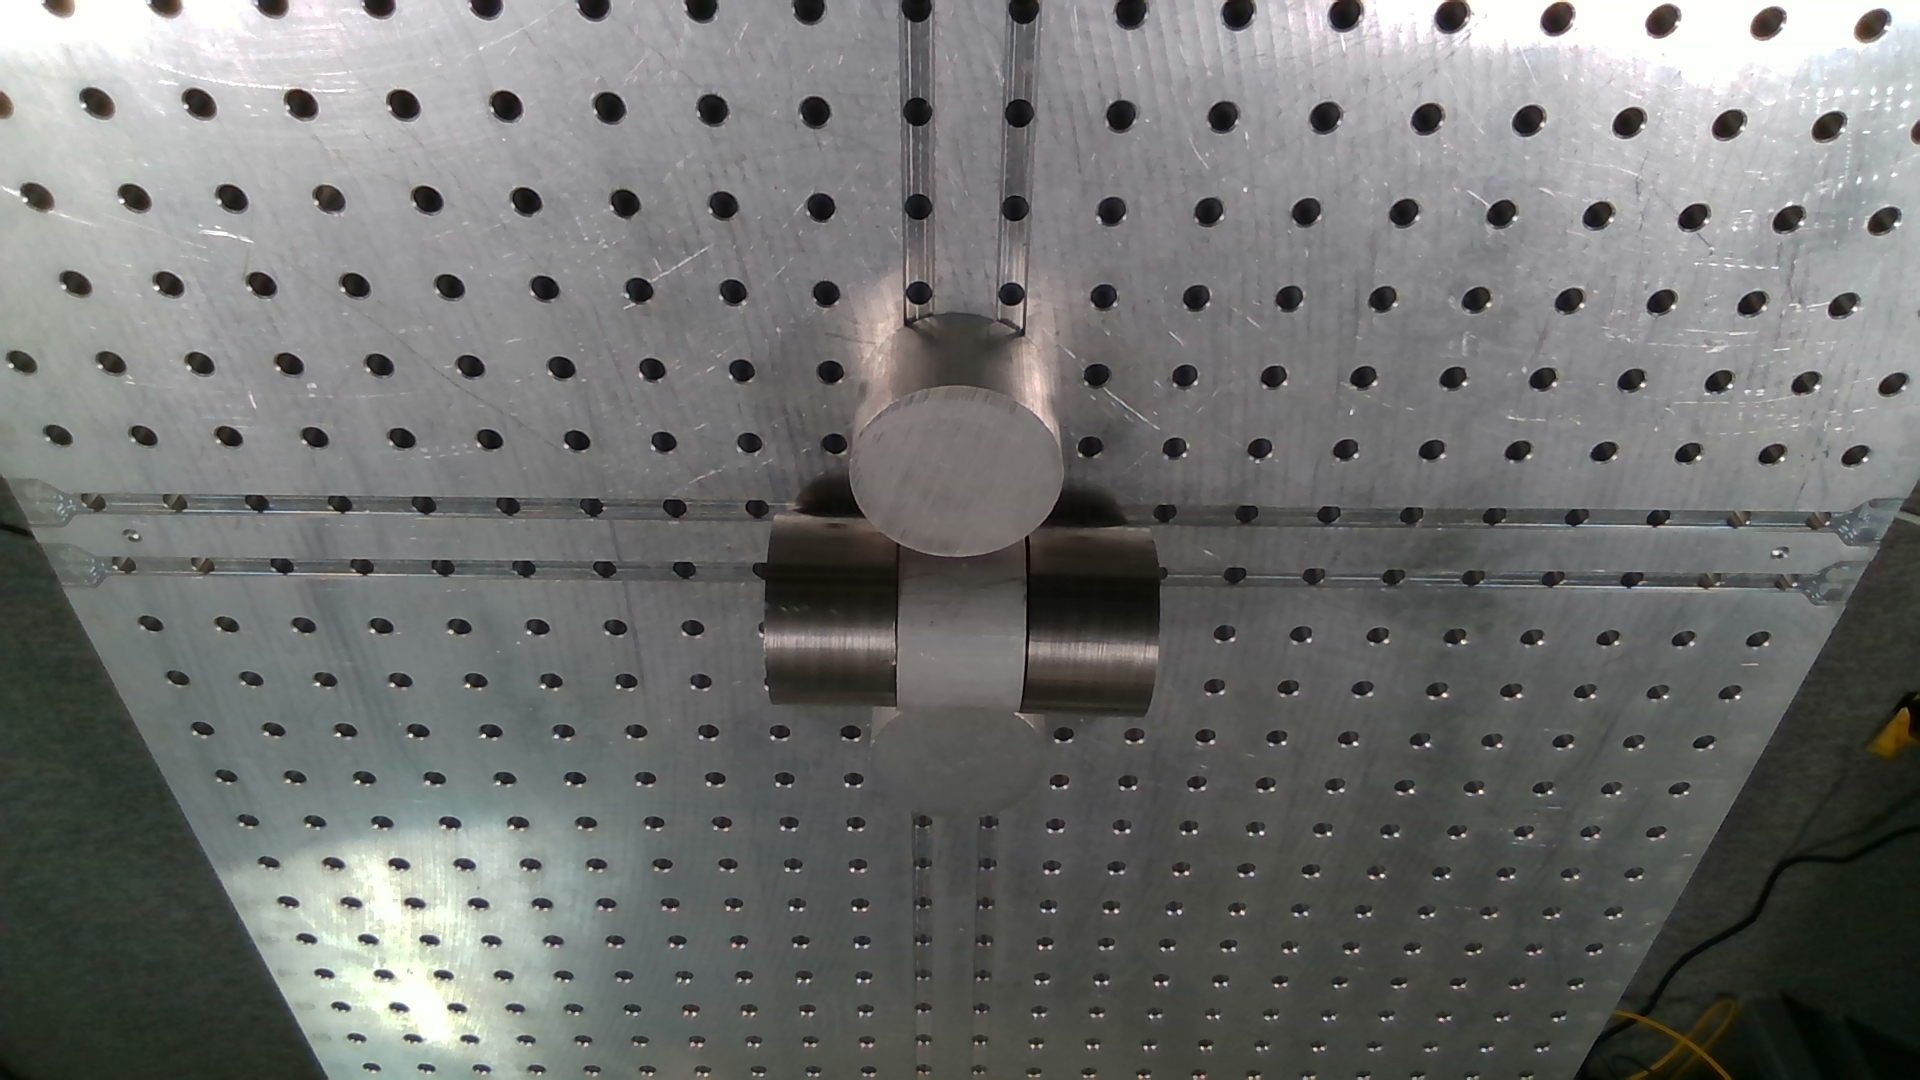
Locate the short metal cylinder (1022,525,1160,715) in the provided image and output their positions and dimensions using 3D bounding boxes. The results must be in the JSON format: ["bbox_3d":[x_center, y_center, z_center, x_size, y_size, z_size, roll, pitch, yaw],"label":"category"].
[{"bbox_3d":[0.051,0.033,0.573,0.050,0.080,0.080,2,130,-2],"label":"short metal cylinder"}]

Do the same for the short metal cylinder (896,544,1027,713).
[{"bbox_3d":[0.000,0.031,0.572,0.050,0.080,0.080,1,130,-1],"label":"short metal cylinder"}]

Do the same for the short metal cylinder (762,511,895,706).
[{"bbox_3d":[-0.052,0.029,0.570,0.050,0.080,0.080,1,130,-1],"label":"short metal cylinder"}]

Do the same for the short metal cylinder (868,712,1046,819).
[{"bbox_3d":[-0.001,0.083,0.635,0.080,0.050,0.080,0,130,0],"label":"short metal cylinder"}]

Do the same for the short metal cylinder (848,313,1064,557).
[{"bbox_3d":[-0.001,-0.040,0.531,0.080,0.050,0.080,0,130,0],"label":"short metal cylinder"}]
